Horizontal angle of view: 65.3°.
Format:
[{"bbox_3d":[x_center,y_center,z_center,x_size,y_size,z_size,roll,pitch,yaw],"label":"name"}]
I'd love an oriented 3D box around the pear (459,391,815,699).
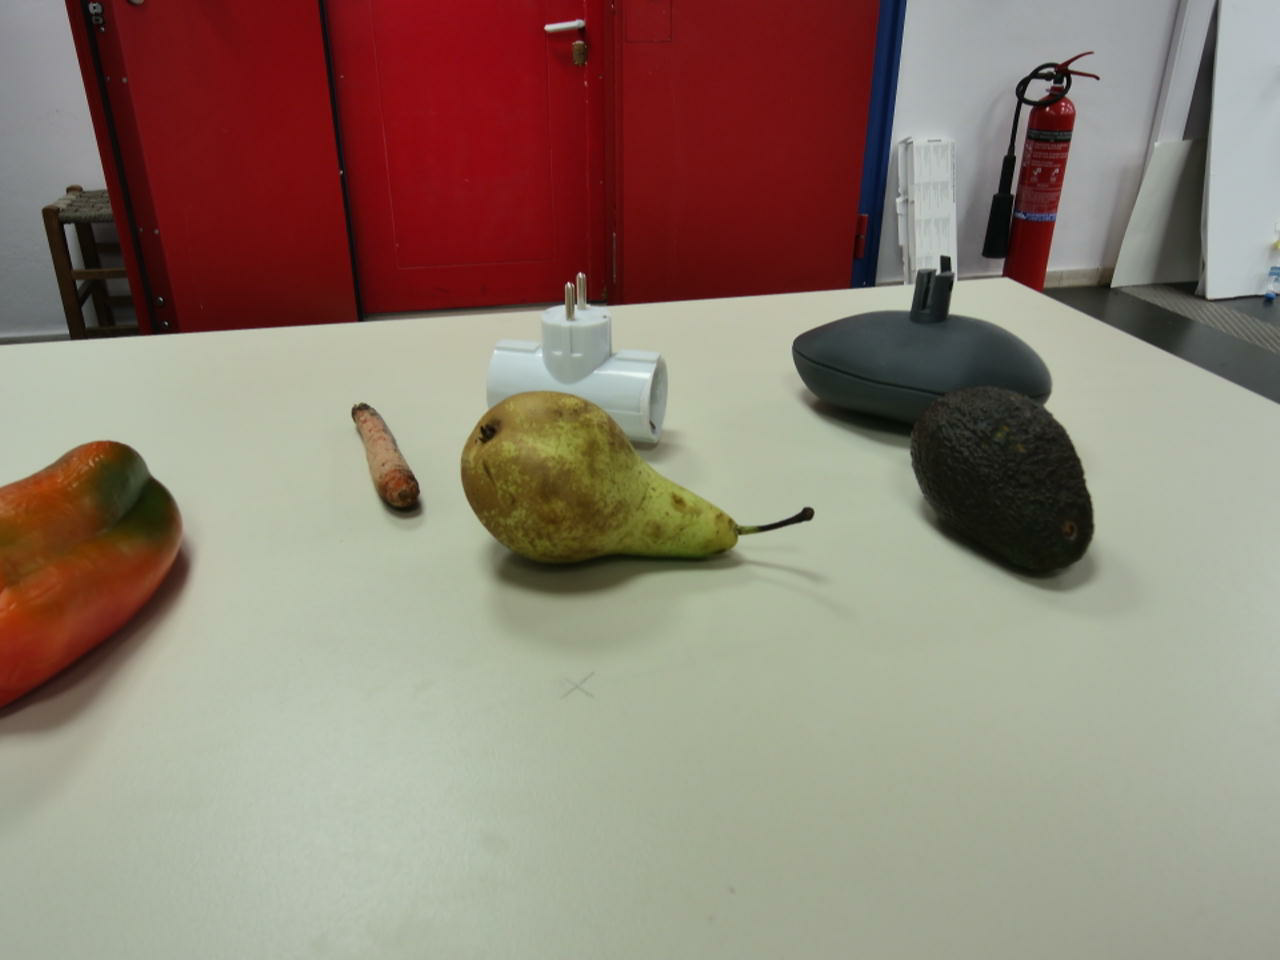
[{"bbox_3d":[-0.004,-0.003,0.429,0.144,0.075,0.071,-3,24,-6],"label":"pear"}]
